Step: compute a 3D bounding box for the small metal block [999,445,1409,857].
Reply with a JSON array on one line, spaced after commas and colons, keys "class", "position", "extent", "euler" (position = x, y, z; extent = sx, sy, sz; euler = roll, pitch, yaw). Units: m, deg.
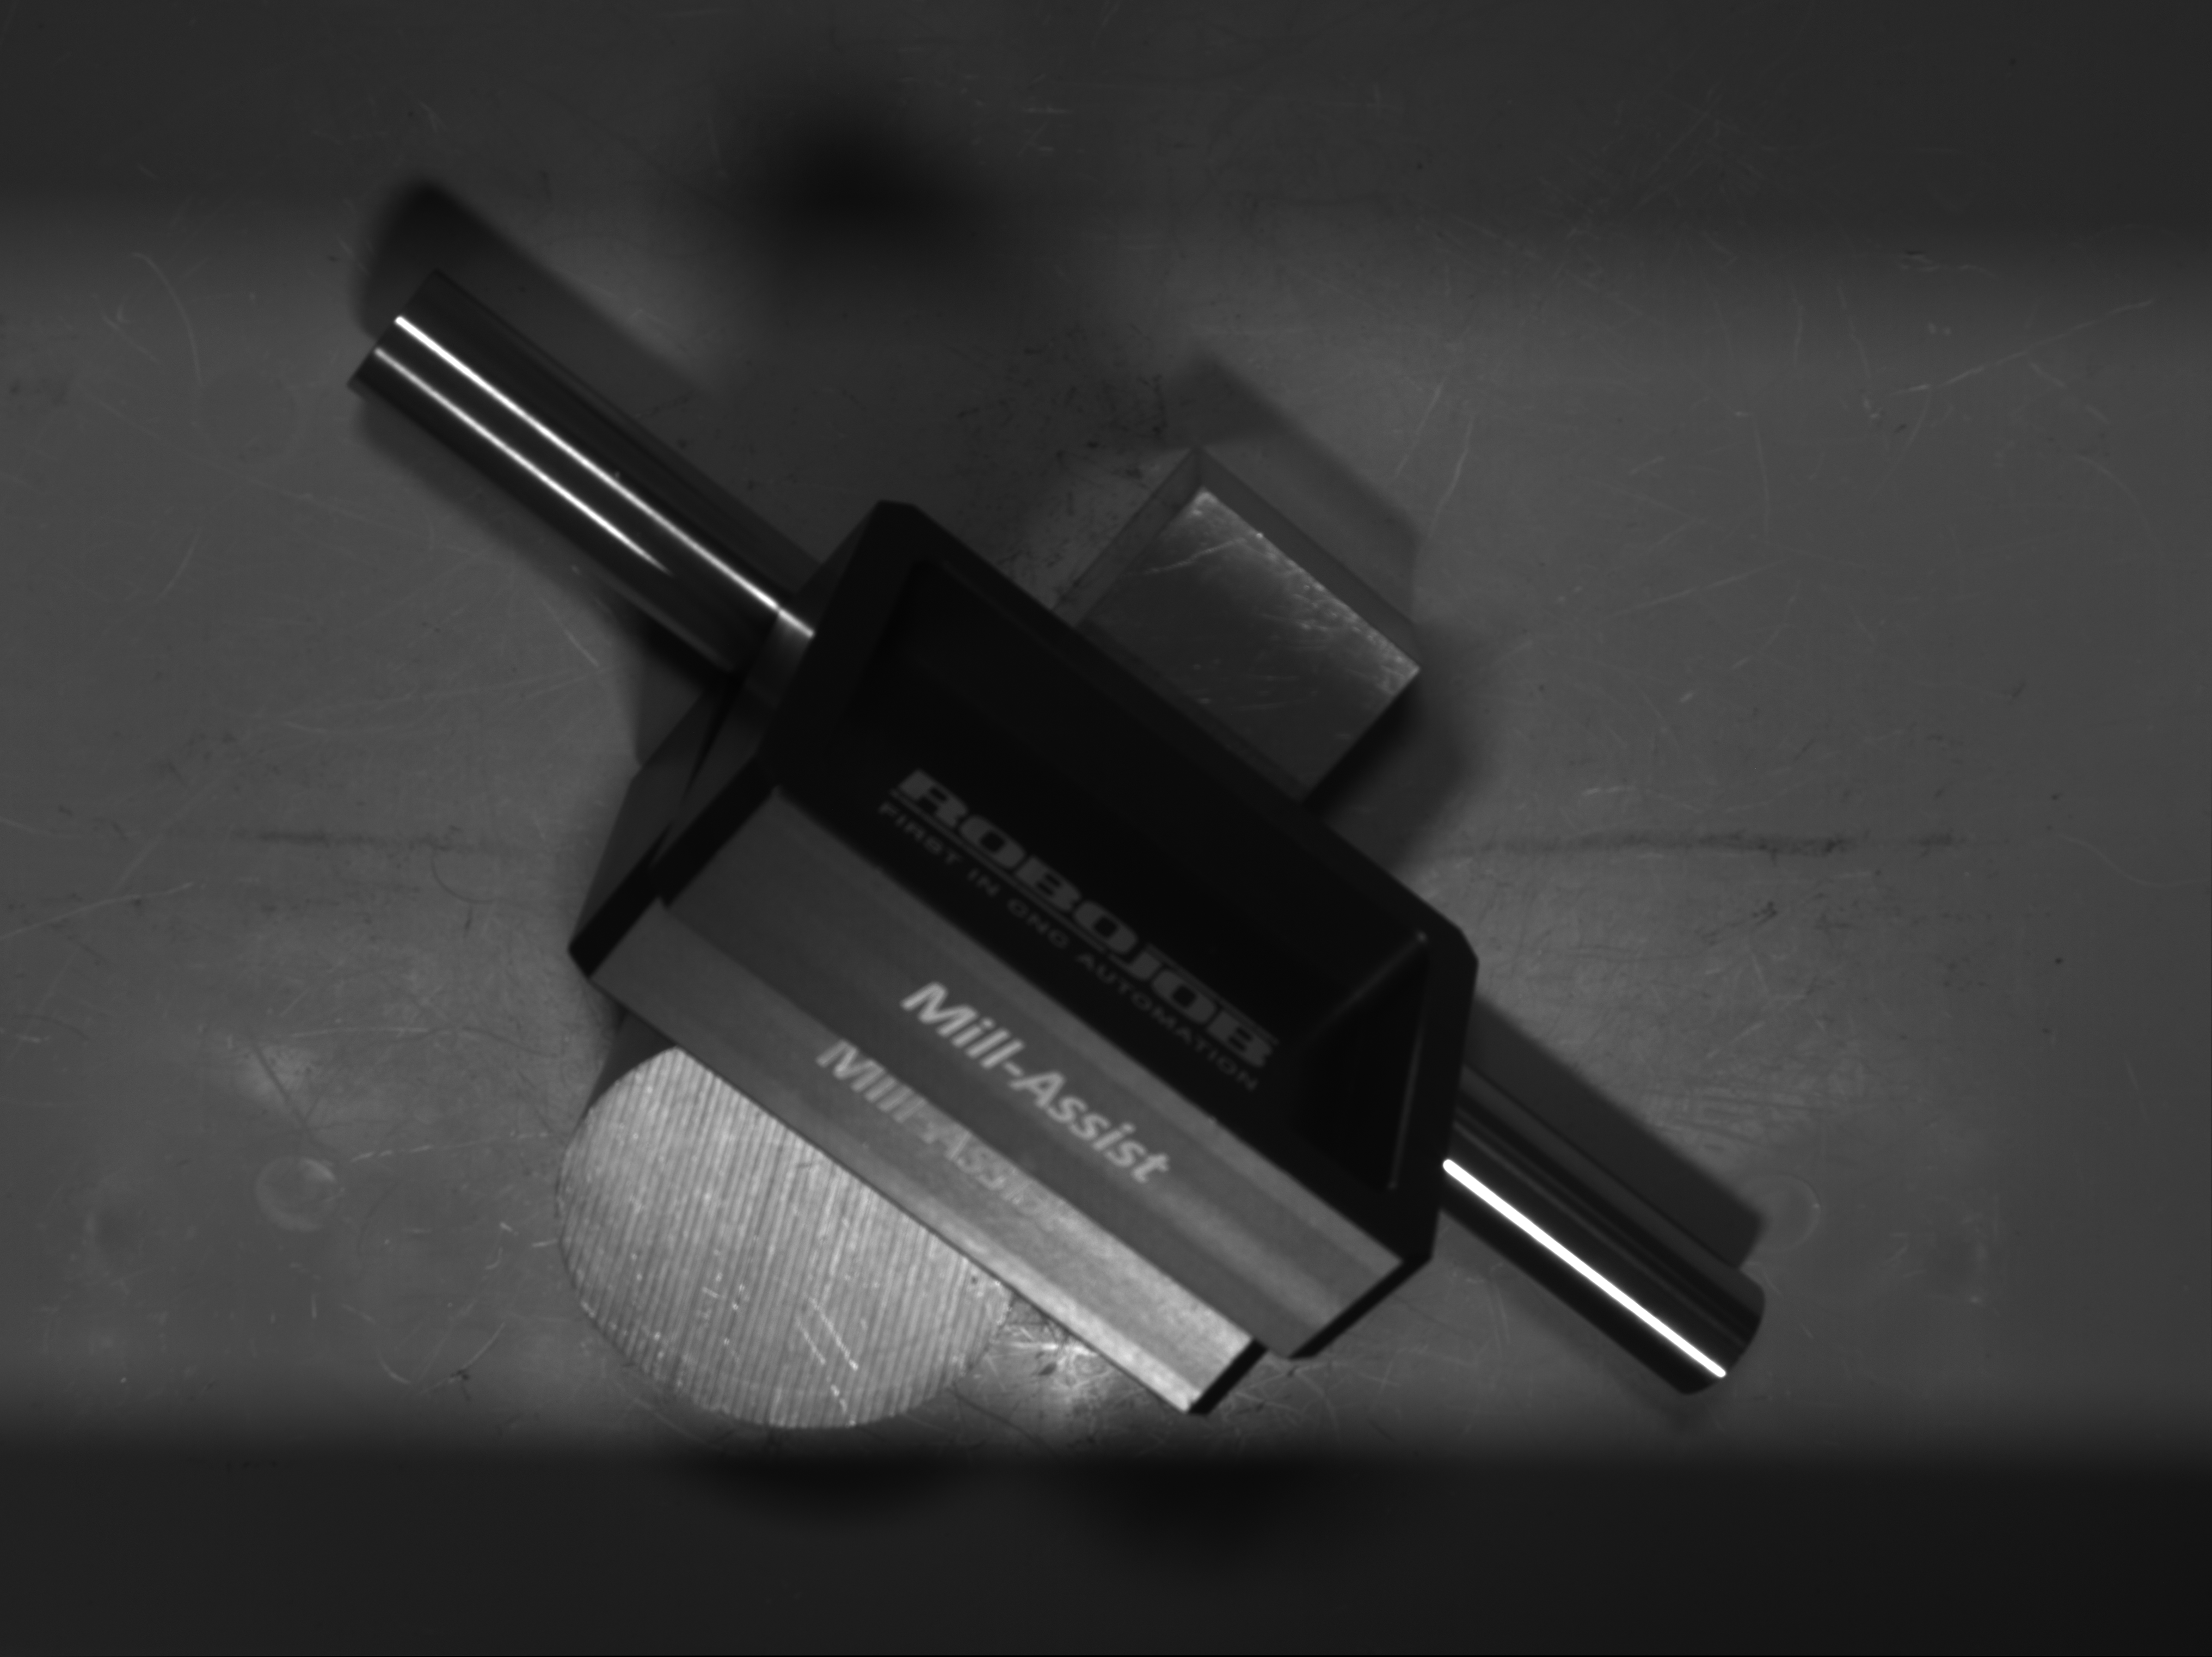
[{"class": "small metal block", "position": [0.016, -0.029, 0.632], "extent": [0.050, 0.025, 0.050], "euler": [39, 105, -13]}]

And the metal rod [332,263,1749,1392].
[{"class": "metal rod", "position": [-0.006, 0.005, 0.645], "extent": [0.300, 0.025, 0.025], "euler": [38, 105, -13]}]

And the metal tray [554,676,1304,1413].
[{"class": "metal tray", "position": [-0.027, 0.033, 0.619], "extent": [0.130, 0.090, 0.030], "euler": [38, 105, -13]}]

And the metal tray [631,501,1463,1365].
[{"class": "metal tray", "position": [-0.005, 0.015, 0.586], "extent": [0.130, 0.090, 0.030], "euler": [38, 122, -13]}]

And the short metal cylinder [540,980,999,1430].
[{"class": "short metal cylinder", "position": [-0.054, 0.058, 0.643], "extent": [0.080, 0.050, 0.080], "euler": [2, 117, 4]}]
